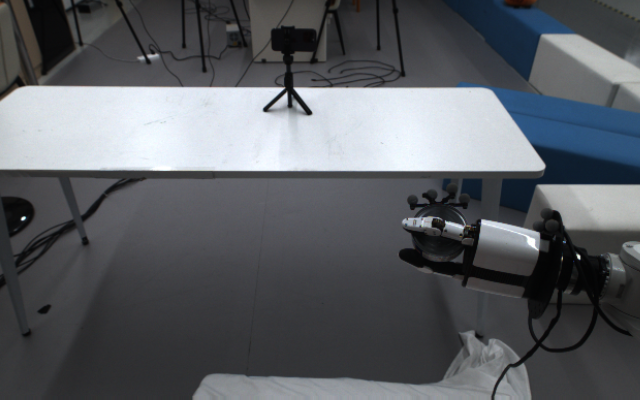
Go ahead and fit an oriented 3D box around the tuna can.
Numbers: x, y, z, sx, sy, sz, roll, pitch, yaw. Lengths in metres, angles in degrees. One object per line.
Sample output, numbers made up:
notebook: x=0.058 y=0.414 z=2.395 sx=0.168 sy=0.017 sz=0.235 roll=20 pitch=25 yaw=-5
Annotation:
tuna can: x=0.182 y=0.049 z=0.740 sx=0.085 sy=0.034 sz=0.085 roll=-6 pitch=59 yaw=11
